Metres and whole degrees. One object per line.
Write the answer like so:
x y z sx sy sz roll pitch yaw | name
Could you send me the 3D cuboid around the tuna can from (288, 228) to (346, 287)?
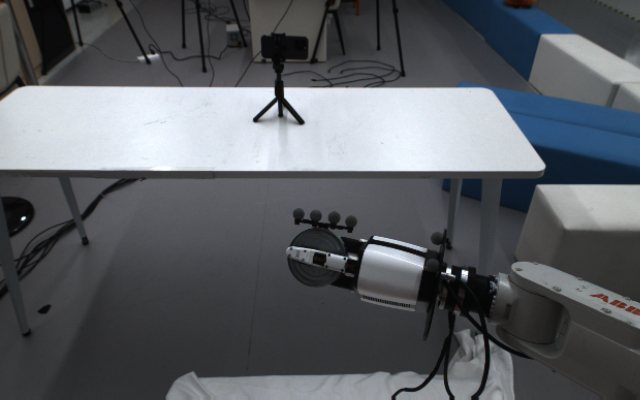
-0.001 0.082 0.705 0.085 0.085 0.034 11 -7 13 | tuna can
